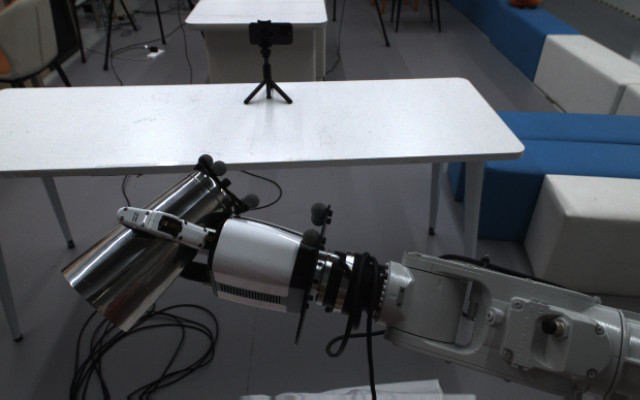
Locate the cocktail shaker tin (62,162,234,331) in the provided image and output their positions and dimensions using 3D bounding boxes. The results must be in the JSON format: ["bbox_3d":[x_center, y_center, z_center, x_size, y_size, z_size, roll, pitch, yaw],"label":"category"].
[{"bbox_3d":[-0.175,0.043,0.525,0.093,0.093,0.170,32,65,35],"label":"cocktail shaker tin"}]
